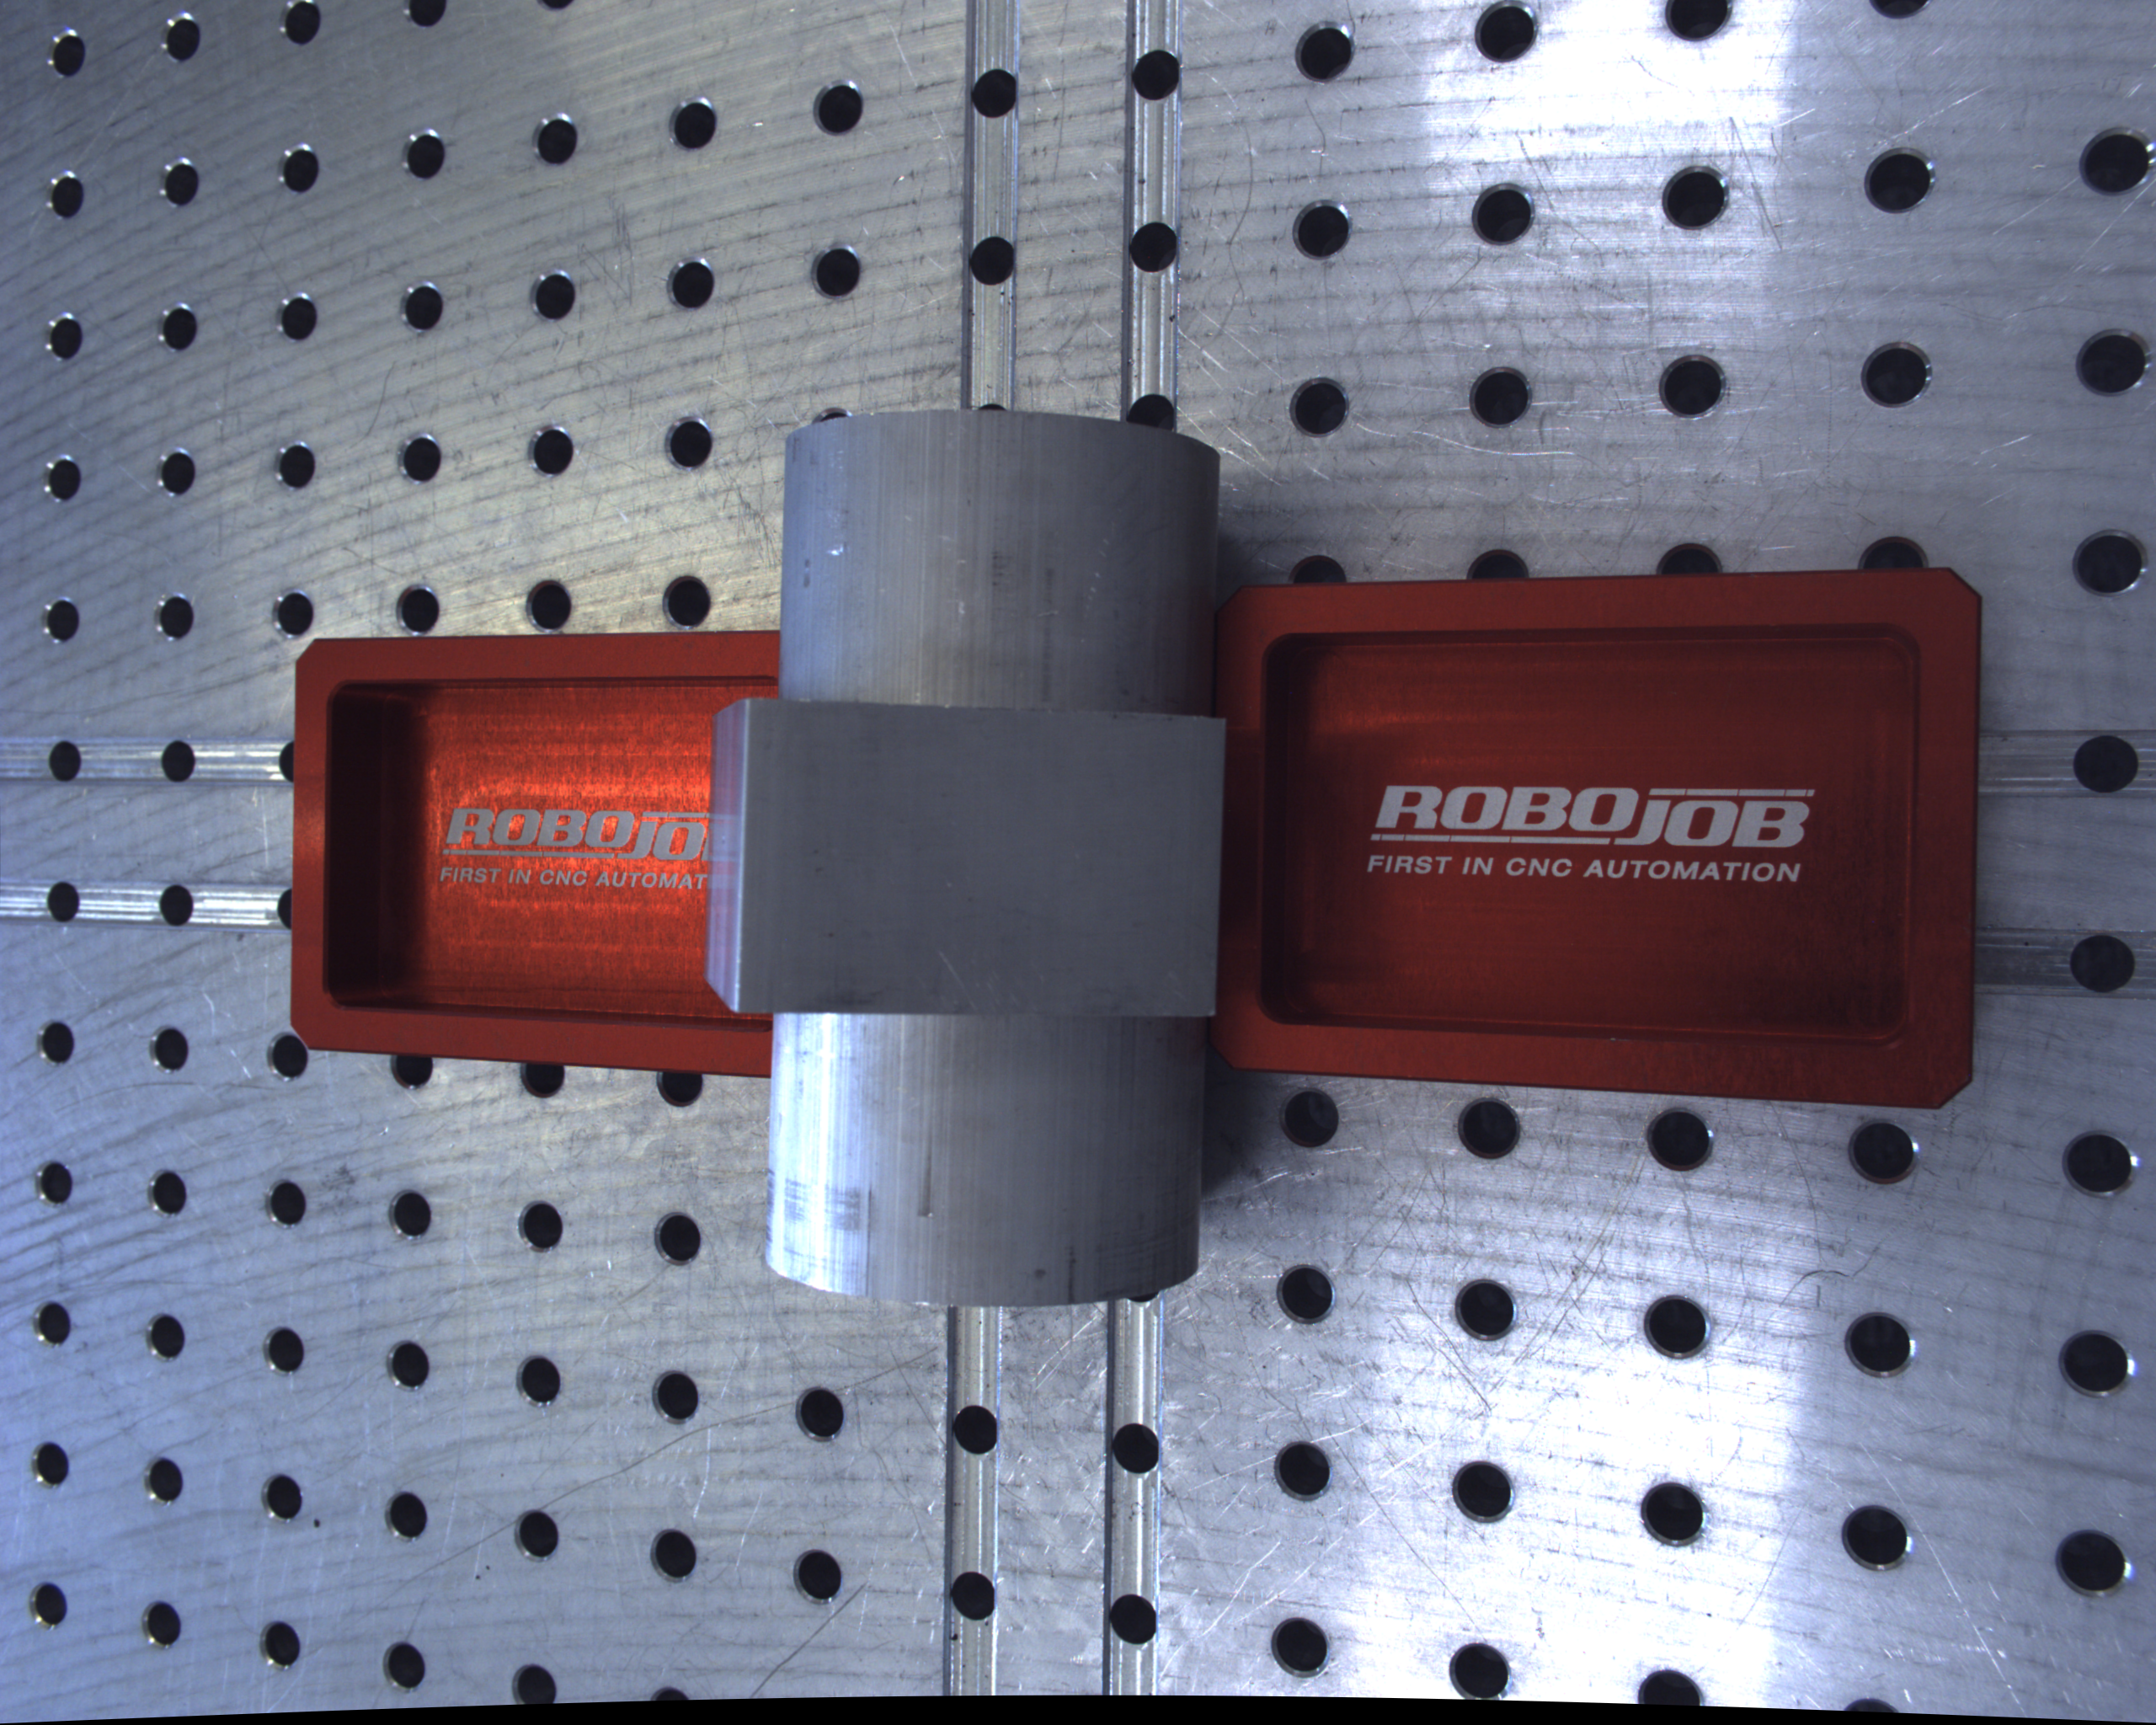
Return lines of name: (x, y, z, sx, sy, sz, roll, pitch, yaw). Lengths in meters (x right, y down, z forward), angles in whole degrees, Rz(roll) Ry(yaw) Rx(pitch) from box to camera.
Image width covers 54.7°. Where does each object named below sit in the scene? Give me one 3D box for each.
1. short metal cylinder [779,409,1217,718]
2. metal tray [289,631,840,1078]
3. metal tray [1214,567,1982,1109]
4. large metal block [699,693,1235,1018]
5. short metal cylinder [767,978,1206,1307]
short metal cylinder: (-0.015, -0.051, 0.388, 0.080, 0.080, 0.050, 2, 91, 20)
metal tray: (-0.105, -0.003, 0.446, 0.130, 0.030, 0.089, 1, 90, 19)
metal tray: (0.091, -0.005, 0.377, 0.130, 0.030, 0.089, 1, 90, 19)
large metal block: (-0.024, -0.001, 0.376, 0.081, 0.080, 0.050, 2, 91, -14)
short metal cylinder: (-0.017, 0.049, 0.389, 0.080, 0.080, 0.050, 2, 91, 20)
